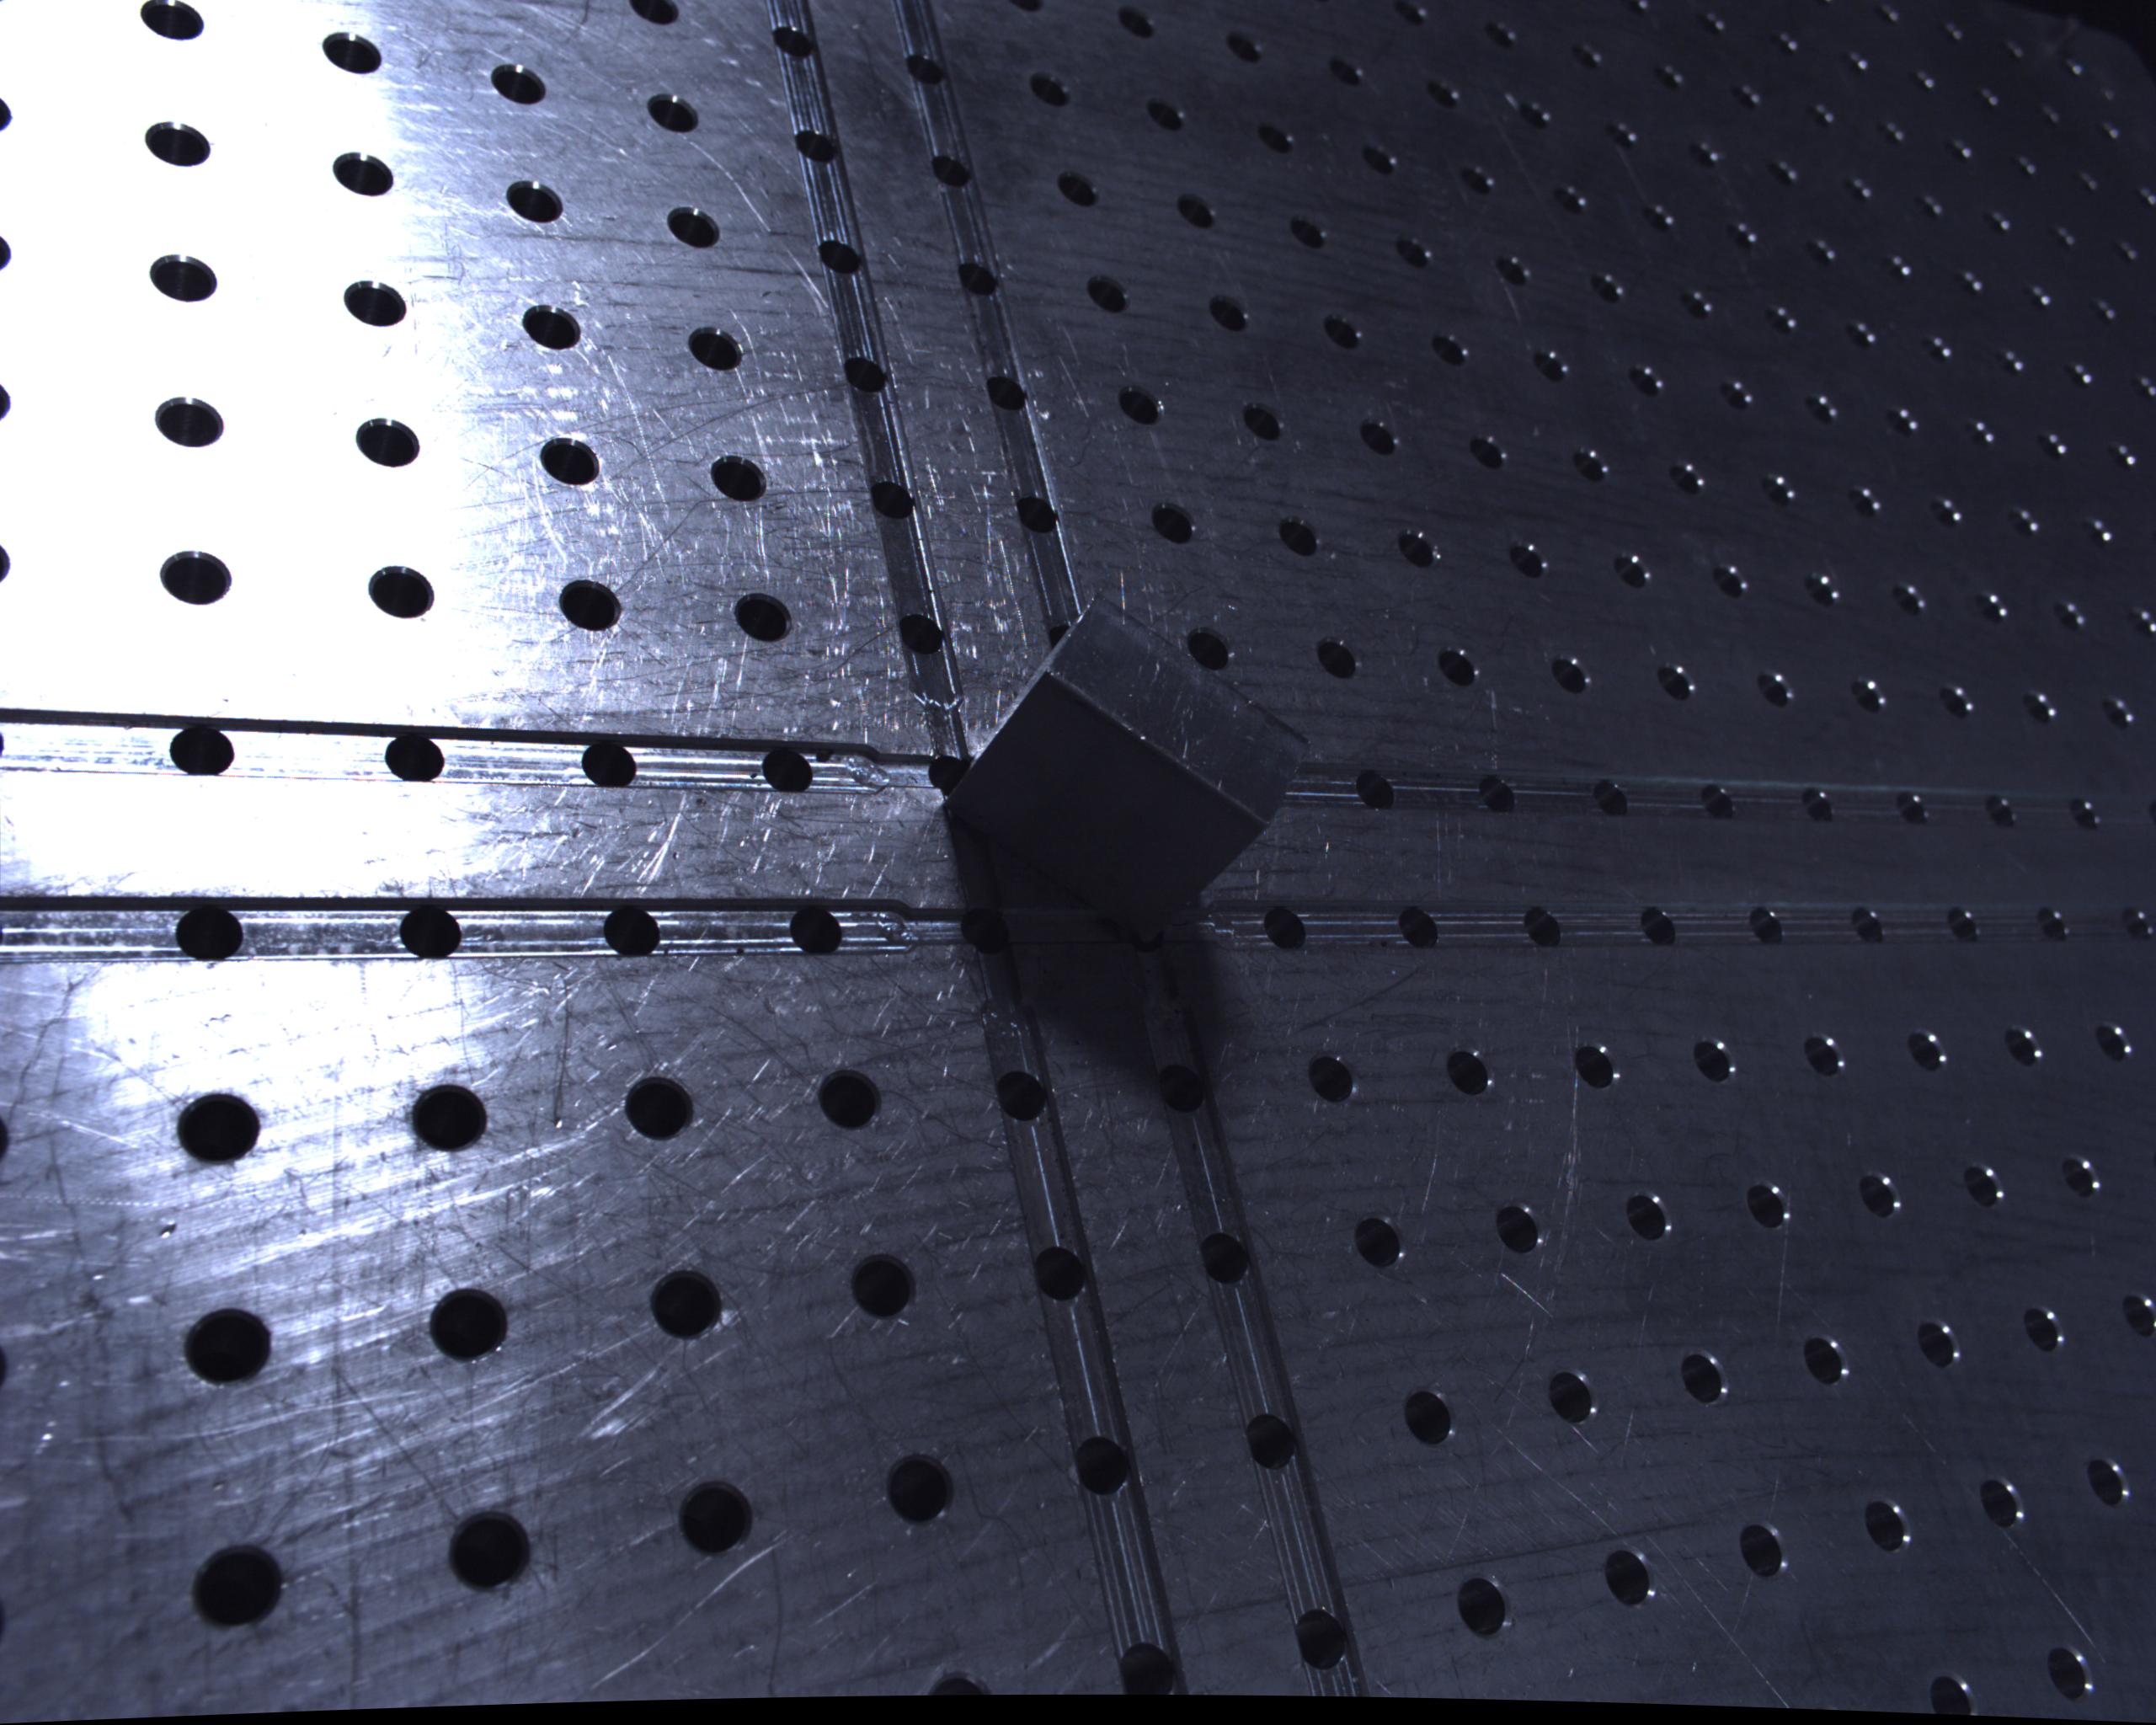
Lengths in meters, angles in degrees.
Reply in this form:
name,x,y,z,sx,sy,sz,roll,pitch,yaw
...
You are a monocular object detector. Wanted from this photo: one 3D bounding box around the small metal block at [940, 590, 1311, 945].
name,x,y,z,sx,sy,sz,roll,pitch,yaw
small metal block,0.009,-0.017,0.409,0.050,0.050,0.025,35,51,-6
